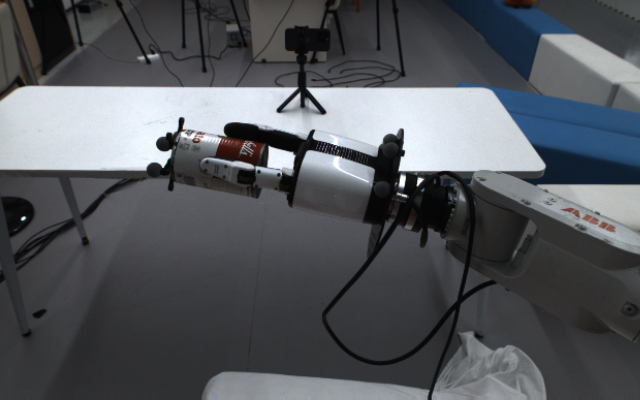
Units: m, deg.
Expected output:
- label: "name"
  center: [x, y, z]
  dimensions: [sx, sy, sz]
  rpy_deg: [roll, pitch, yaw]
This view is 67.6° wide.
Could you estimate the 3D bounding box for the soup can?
- label: "soup can"
  center: [-0.117, -0.043, 0.582]
  dimensions: [0.101, 0.067, 0.067]
  rpy_deg: [11, 35, 0]
